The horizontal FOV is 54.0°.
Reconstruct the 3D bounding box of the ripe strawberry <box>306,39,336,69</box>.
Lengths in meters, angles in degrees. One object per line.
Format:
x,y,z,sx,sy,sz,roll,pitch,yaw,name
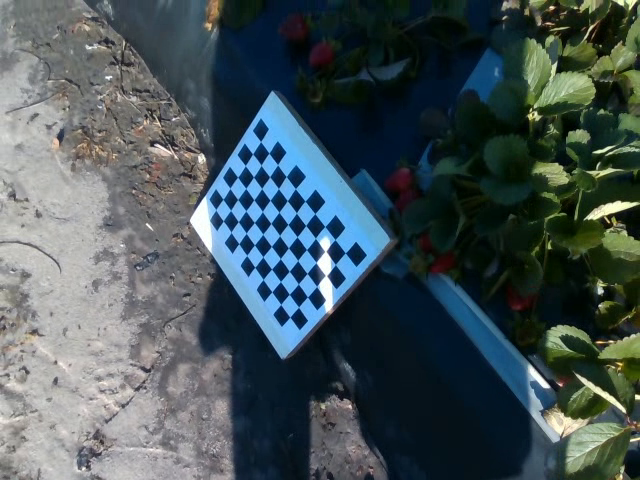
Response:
0.000,-0.274,0.938,0.042,0.039,0.049,7,38,41,ripe strawberry

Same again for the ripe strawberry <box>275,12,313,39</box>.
-0.046,-0.325,0.962,0.050,0.051,0.044,-18,-10,-28,ripe strawberry
